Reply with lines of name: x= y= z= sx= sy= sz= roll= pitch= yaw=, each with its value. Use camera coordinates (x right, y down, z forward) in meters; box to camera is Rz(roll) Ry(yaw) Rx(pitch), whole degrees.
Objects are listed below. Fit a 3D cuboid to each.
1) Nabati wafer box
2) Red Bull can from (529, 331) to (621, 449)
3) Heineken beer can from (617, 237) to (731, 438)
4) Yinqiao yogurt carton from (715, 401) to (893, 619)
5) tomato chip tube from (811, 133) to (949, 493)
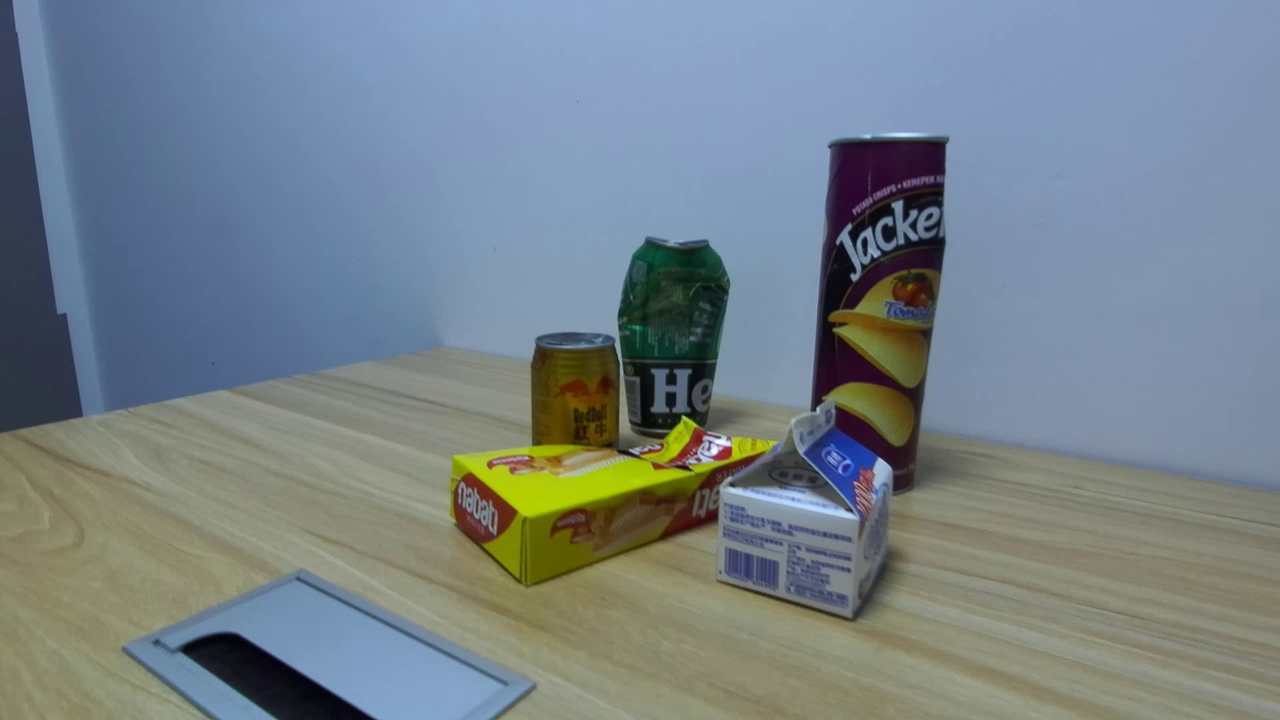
Nabati wafer box: x=-0.007 y=0.075 z=0.450 sx=0.205 sy=0.042 sz=0.106 roll=-7 pitch=16 yaw=-37
Red Bull can: x=-0.048 y=0.031 z=0.532 sx=0.067 sy=0.093 sz=0.067 roll=1 pitch=12 yaw=0
Heineken beer can: x=0.024 y=-0.019 z=0.589 sx=0.077 sy=0.164 sz=0.066 roll=13 pitch=17 yaw=36
Yinqiao yogurt carton: x=0.088 y=0.068 z=0.366 sx=0.073 sy=0.092 sz=0.076 roll=7 pitch=12 yaw=30
tomato chip tube: x=0.161 y=-0.030 z=0.485 sx=0.076 sy=0.235 sz=0.078 roll=4 pitch=12 yaw=15
